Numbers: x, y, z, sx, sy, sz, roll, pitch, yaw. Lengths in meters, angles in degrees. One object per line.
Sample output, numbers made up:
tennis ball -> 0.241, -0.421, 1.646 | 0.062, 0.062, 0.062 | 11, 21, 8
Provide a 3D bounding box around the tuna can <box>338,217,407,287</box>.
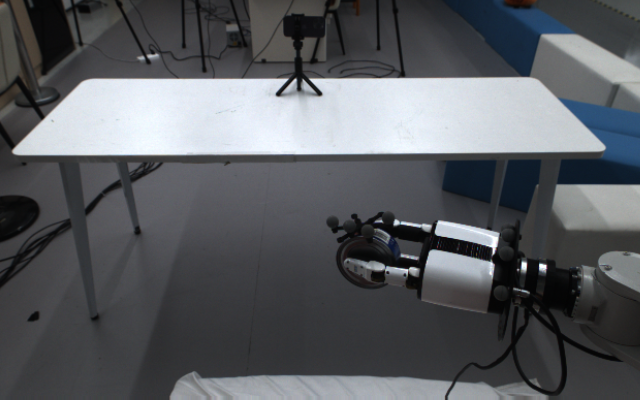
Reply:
tuna can -> 0.070, 0.079, 0.676 | 0.085, 0.085, 0.034 | 13, 29, 15
